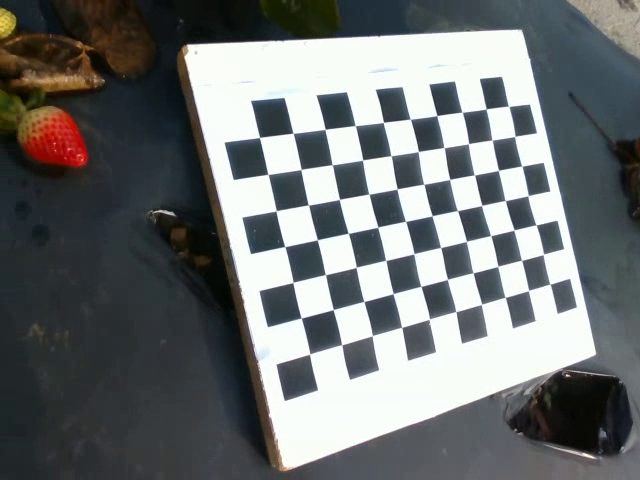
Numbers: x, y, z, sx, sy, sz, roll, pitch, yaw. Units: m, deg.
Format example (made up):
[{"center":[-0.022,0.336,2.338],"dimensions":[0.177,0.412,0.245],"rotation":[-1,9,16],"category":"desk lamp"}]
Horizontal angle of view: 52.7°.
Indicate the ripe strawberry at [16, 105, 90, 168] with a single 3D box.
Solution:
[{"center":[-0.144,-0.054,0.343],"dimensions":[0.043,0.035,0.030],"rotation":[42,-23,-12],"category":"ripe strawberry"}]
